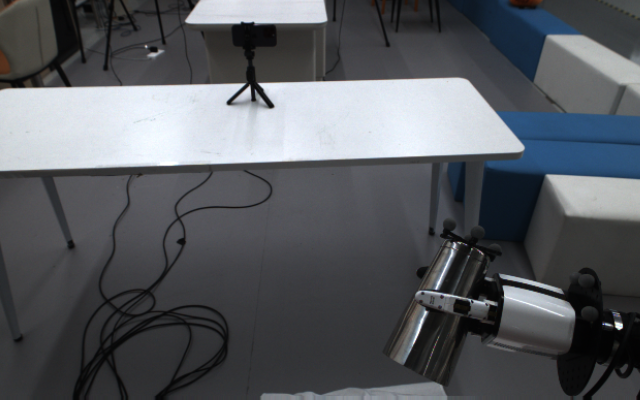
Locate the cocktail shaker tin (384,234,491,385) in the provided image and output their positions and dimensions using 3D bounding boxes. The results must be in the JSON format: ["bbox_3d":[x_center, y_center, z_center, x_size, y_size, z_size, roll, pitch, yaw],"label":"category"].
[{"bbox_3d":[0.162,0.138,0.635,0.093,0.093,0.170,21,81,25],"label":"cocktail shaker tin"}]
